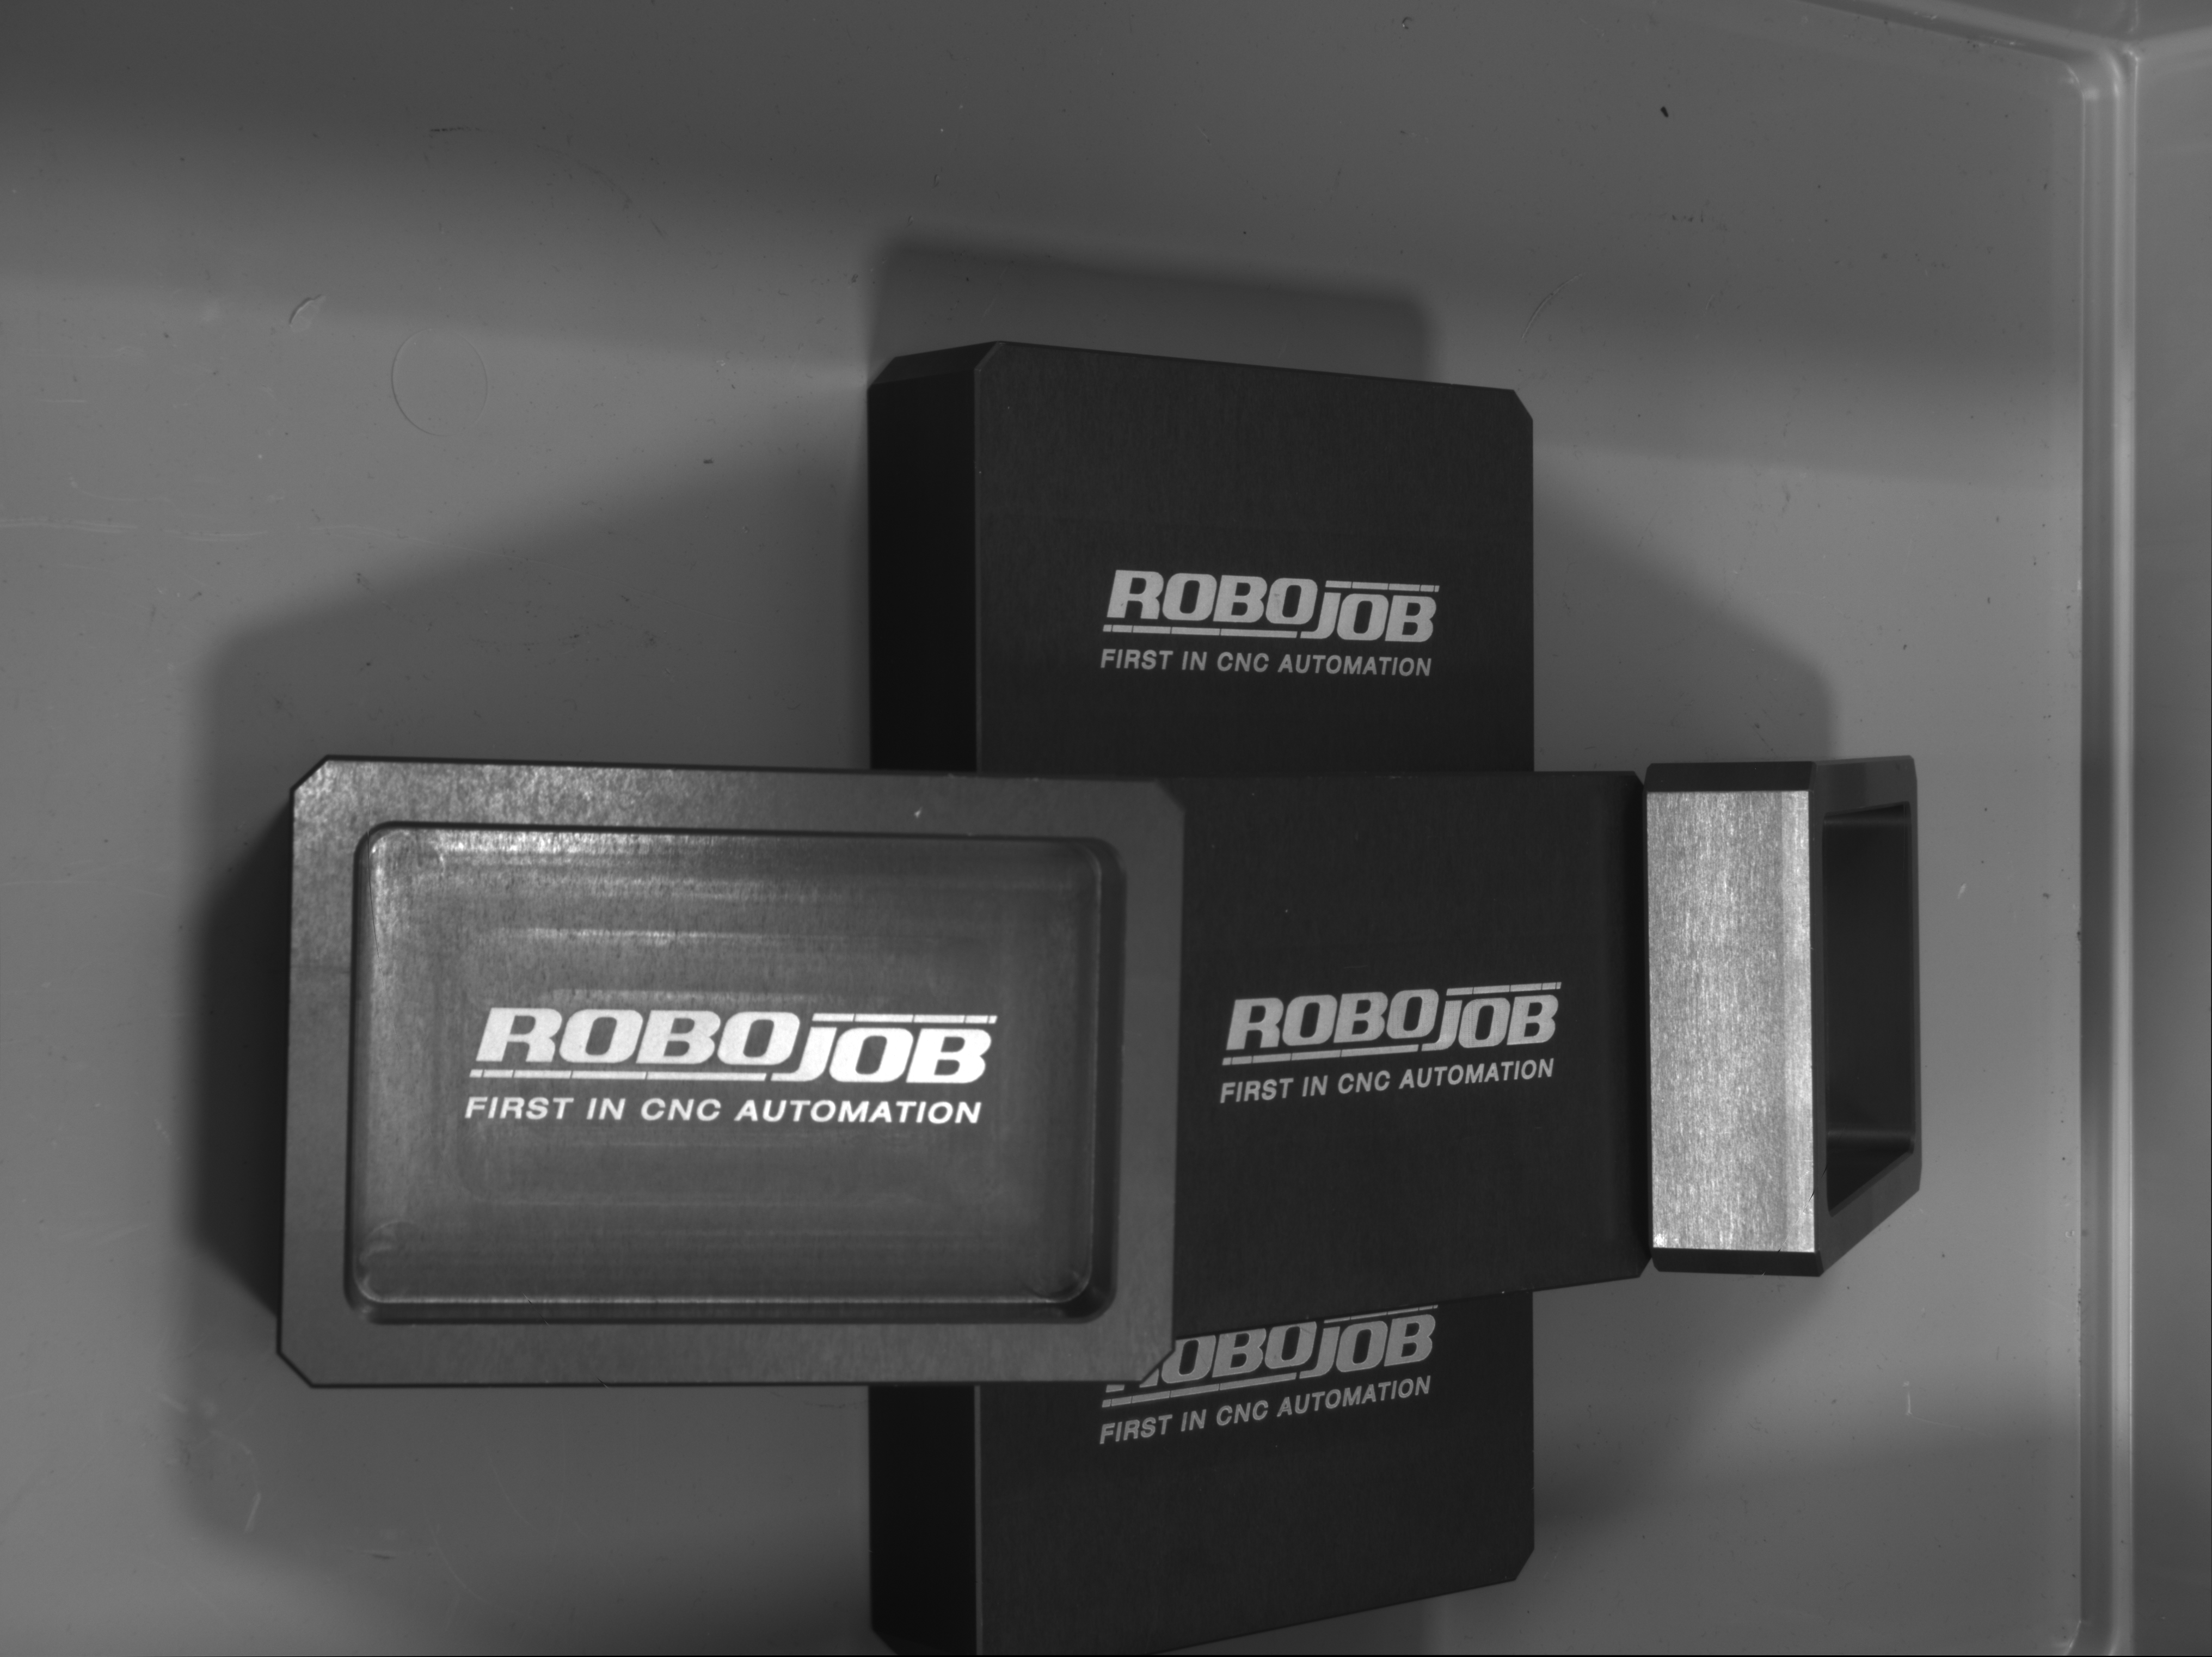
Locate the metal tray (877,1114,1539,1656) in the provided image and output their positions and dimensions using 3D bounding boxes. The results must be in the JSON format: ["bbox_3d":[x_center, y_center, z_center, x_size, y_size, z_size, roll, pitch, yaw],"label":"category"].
[{"bbox_3d":[0.021,0.094,0.646,0.131,0.030,0.090,-1,90,-40],"label":"metal tray"}]

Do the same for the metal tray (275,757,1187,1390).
[{"bbox_3d":[-0.055,0.036,0.546,0.130,0.030,0.090,1,90,-11],"label":"metal tray"}]

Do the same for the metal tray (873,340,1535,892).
[{"bbox_3d":[0.020,-0.035,0.646,0.131,0.030,0.090,-1,90,-40],"label":"metal tray"}]

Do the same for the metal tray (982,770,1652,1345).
[{"bbox_3d":[0.039,0.036,0.624,0.131,0.030,0.090,-1,91,-40],"label":"metal tray"}]

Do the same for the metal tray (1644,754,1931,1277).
[{"bbox_3d":[0.132,0.032,0.700,0.130,0.030,0.090,-5,94,-69],"label":"metal tray"}]
